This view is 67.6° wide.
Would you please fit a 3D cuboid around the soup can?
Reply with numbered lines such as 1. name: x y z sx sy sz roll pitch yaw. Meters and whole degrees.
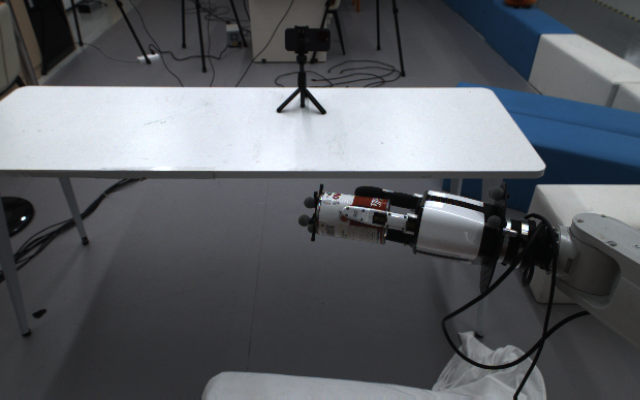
1. soup can: 0.052 0.025 0.722 0.101 0.067 0.067 6 35 11
